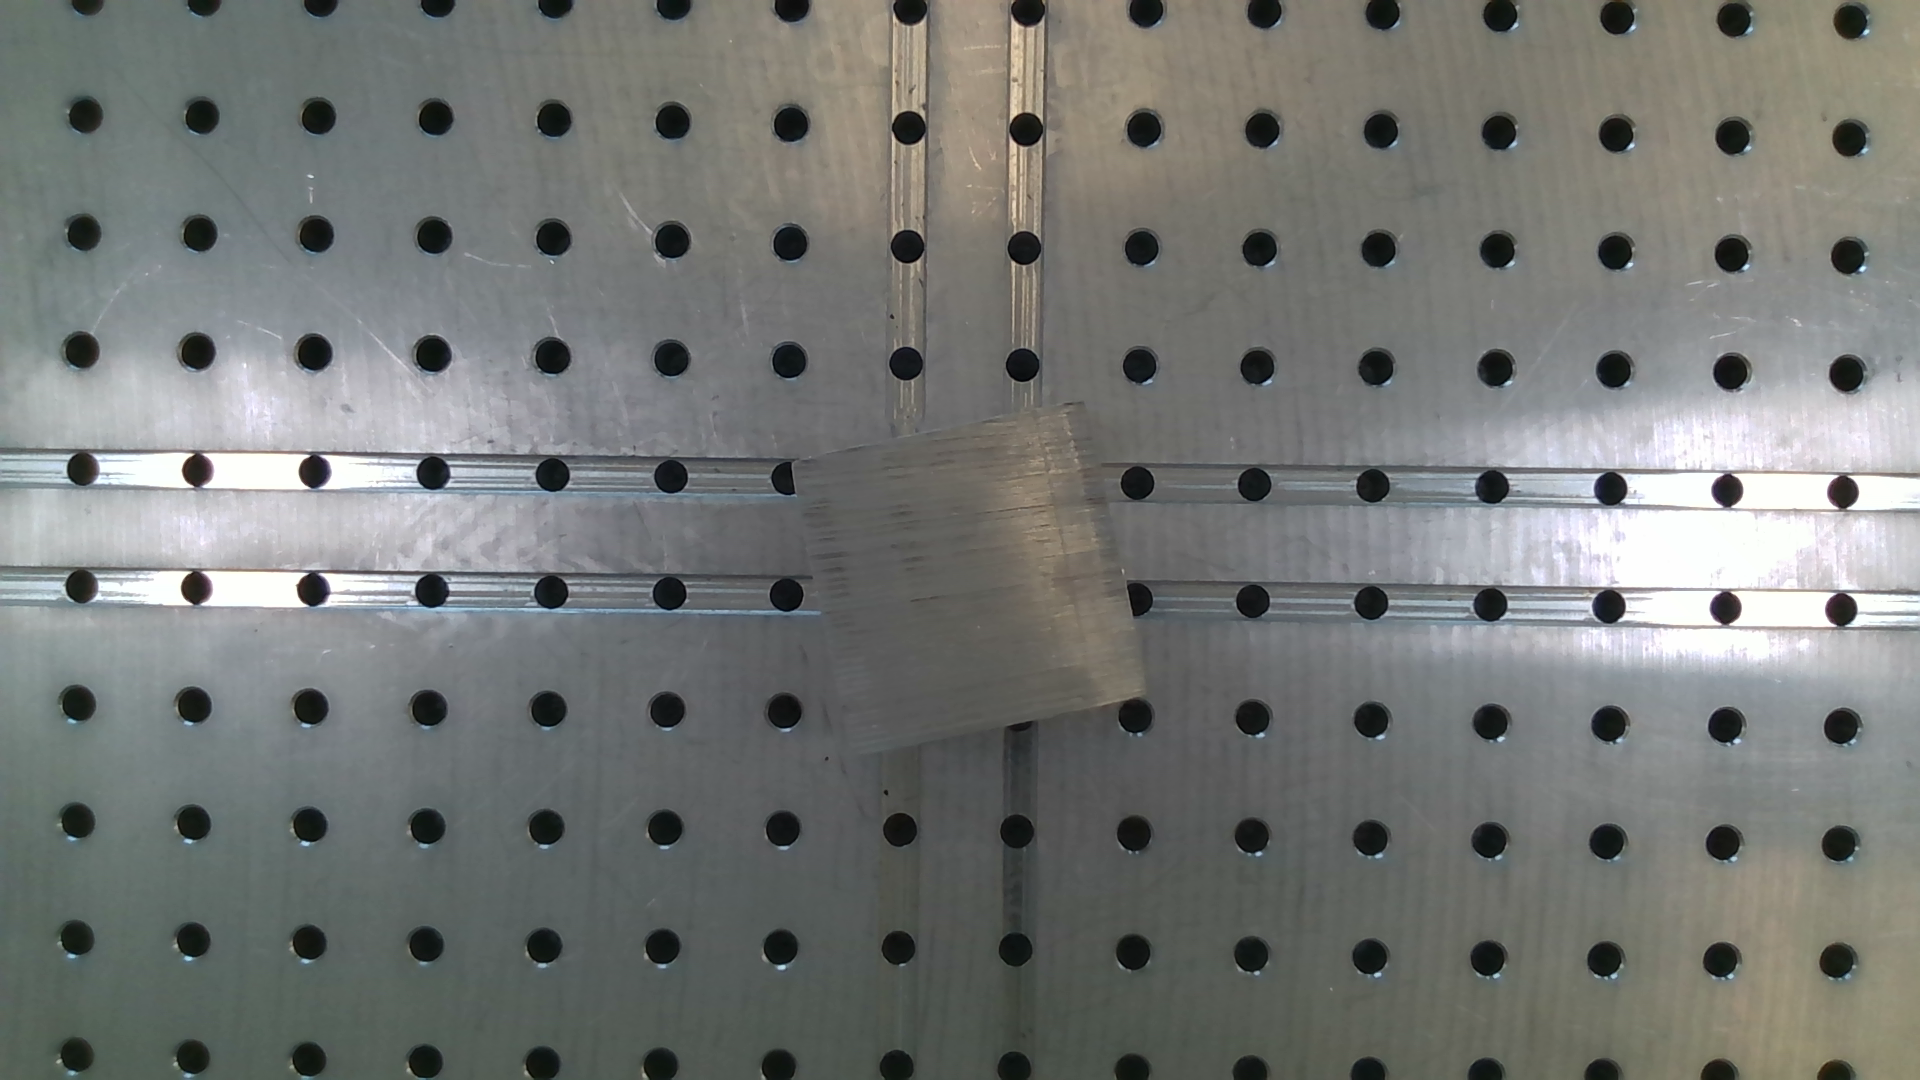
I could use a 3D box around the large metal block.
[{"bbox_3d":[0.002,0.010,0.384,0.080,0.050,0.080,-12,90,0],"label":"large metal block"}]
